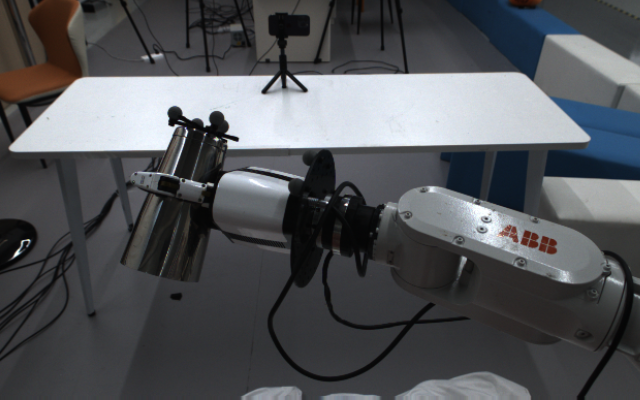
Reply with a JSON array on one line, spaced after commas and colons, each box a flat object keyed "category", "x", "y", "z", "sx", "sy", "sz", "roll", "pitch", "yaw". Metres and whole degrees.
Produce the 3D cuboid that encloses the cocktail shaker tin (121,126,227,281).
[{"category": "cocktail shaker tin", "x": -0.167, "y": 0.004, "z": 0.581, "sx": 0.093, "sy": 0.170, "sz": 0.093, "roll": 15, "pitch": -6, "yaw": 2}]
